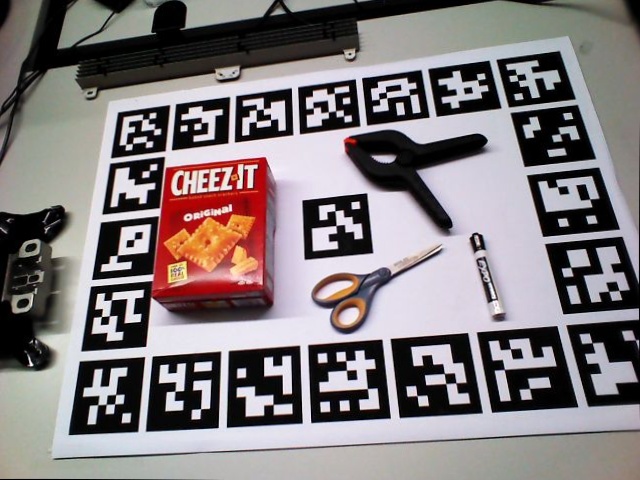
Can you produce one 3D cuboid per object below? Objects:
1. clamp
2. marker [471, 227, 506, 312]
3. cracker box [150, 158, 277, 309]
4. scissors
[{"bbox_3d":[0.129,-0.123,0.799,0.203,0.037,0.164,23,69,19],"label":"clamp"},{"bbox_3d":[0.226,0.037,0.697,0.020,0.020,0.120,-9,63,6],"label":"marker"},{"bbox_3d":[-0.152,-0.012,0.764,0.165,0.072,0.212,-5,64,8],"label":"cracker box"},{"bbox_3d":[0.085,0.047,0.719,0.202,0.016,0.087,-31,62,-8],"label":"scissors"}]
